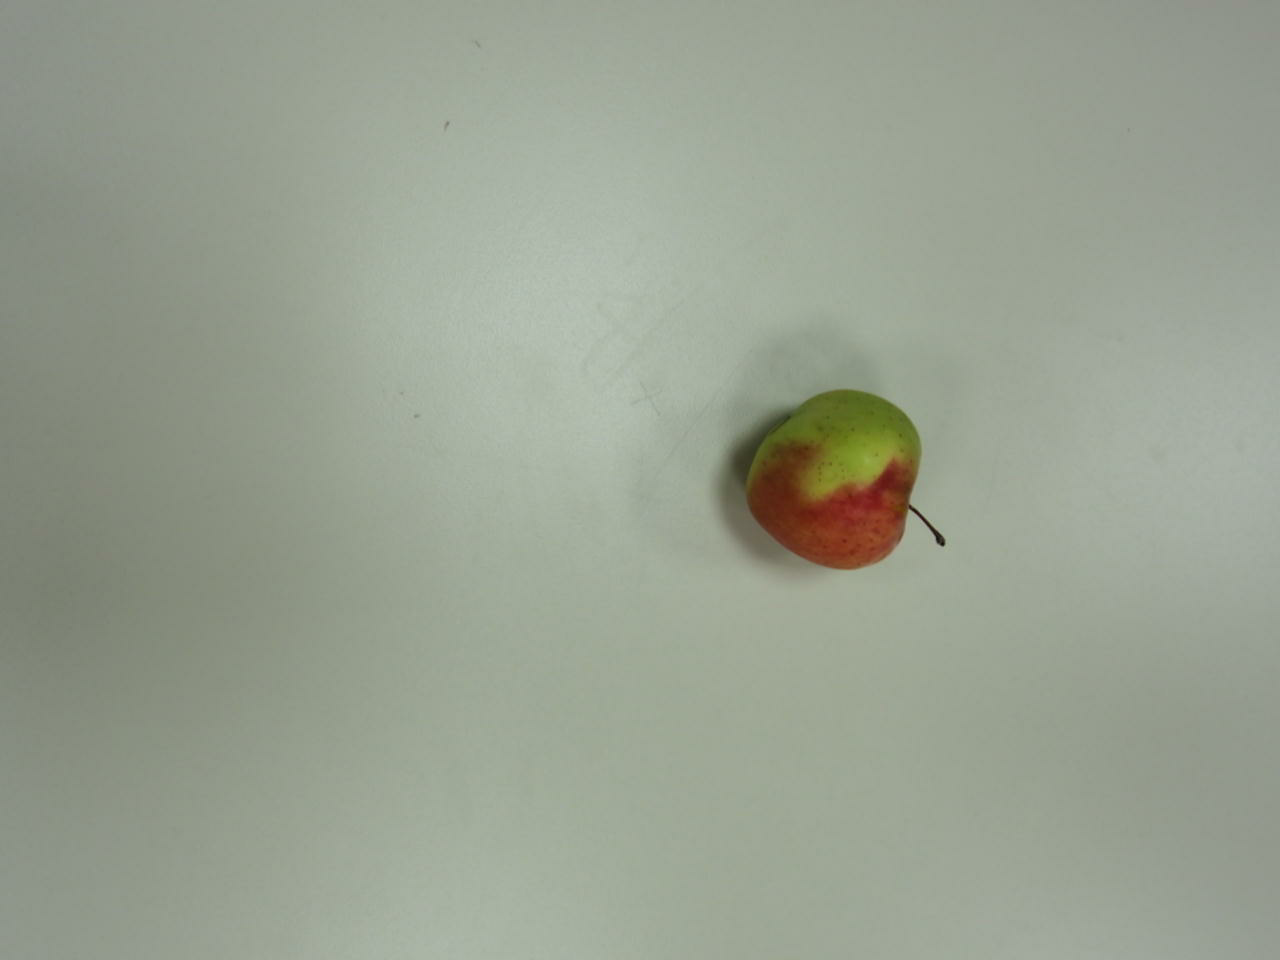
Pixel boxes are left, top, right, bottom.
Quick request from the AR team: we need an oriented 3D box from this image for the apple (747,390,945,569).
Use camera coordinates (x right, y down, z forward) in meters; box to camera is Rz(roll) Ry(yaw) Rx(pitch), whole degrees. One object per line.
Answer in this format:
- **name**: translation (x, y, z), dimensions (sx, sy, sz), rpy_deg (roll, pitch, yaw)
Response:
- **apple**: translation (0.083, 0.000, 0.420), dimensions (0.075, 0.074, 0.075), rpy_deg (-10, 92, -12)
